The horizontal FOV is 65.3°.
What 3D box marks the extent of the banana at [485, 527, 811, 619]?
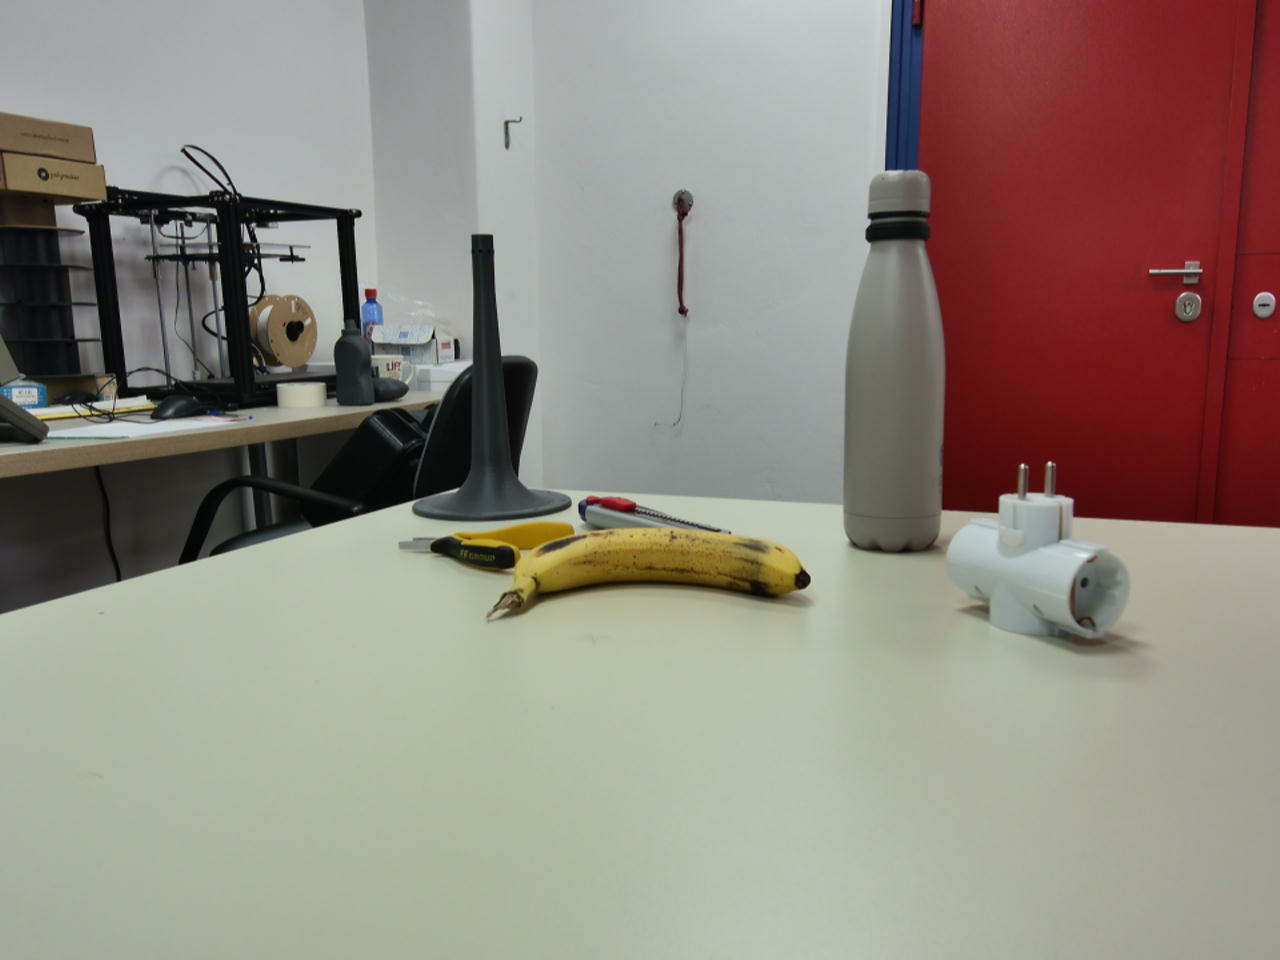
[{"bbox_3d":[0.005,0.055,0.628,0.186,0.038,0.097,0,7,-4],"label":"banana"}]
